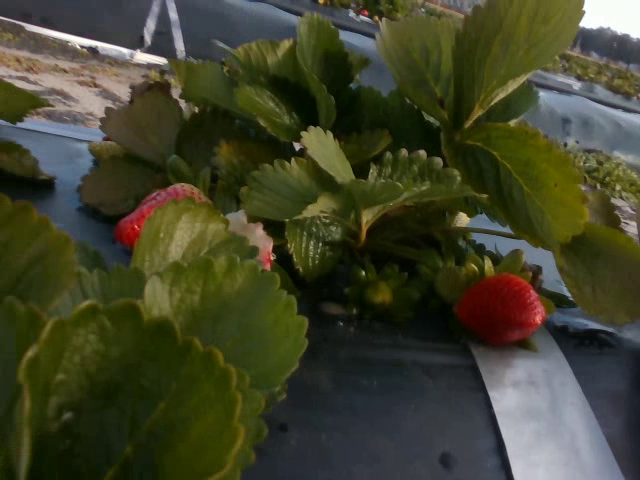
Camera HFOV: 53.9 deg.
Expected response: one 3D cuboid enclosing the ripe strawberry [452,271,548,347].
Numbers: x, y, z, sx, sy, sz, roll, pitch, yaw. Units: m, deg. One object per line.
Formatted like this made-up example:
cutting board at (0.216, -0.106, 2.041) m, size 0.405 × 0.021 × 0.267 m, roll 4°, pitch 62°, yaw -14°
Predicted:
ripe strawberry at (0.084, 0.029, 0.269) m, size 0.050 × 0.036 × 0.055 m, roll 23°, pitch 22°, yaw -3°
